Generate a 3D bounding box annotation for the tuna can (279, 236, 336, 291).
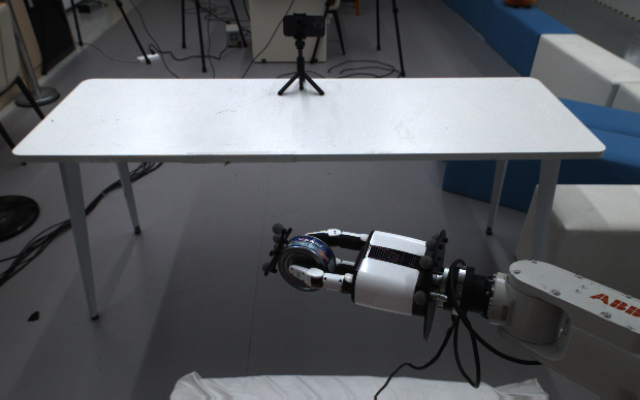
[{"bbox_3d":[-0.018,0.102,0.738,0.085,0.085,0.034,12,30,14],"label":"tuna can"}]
